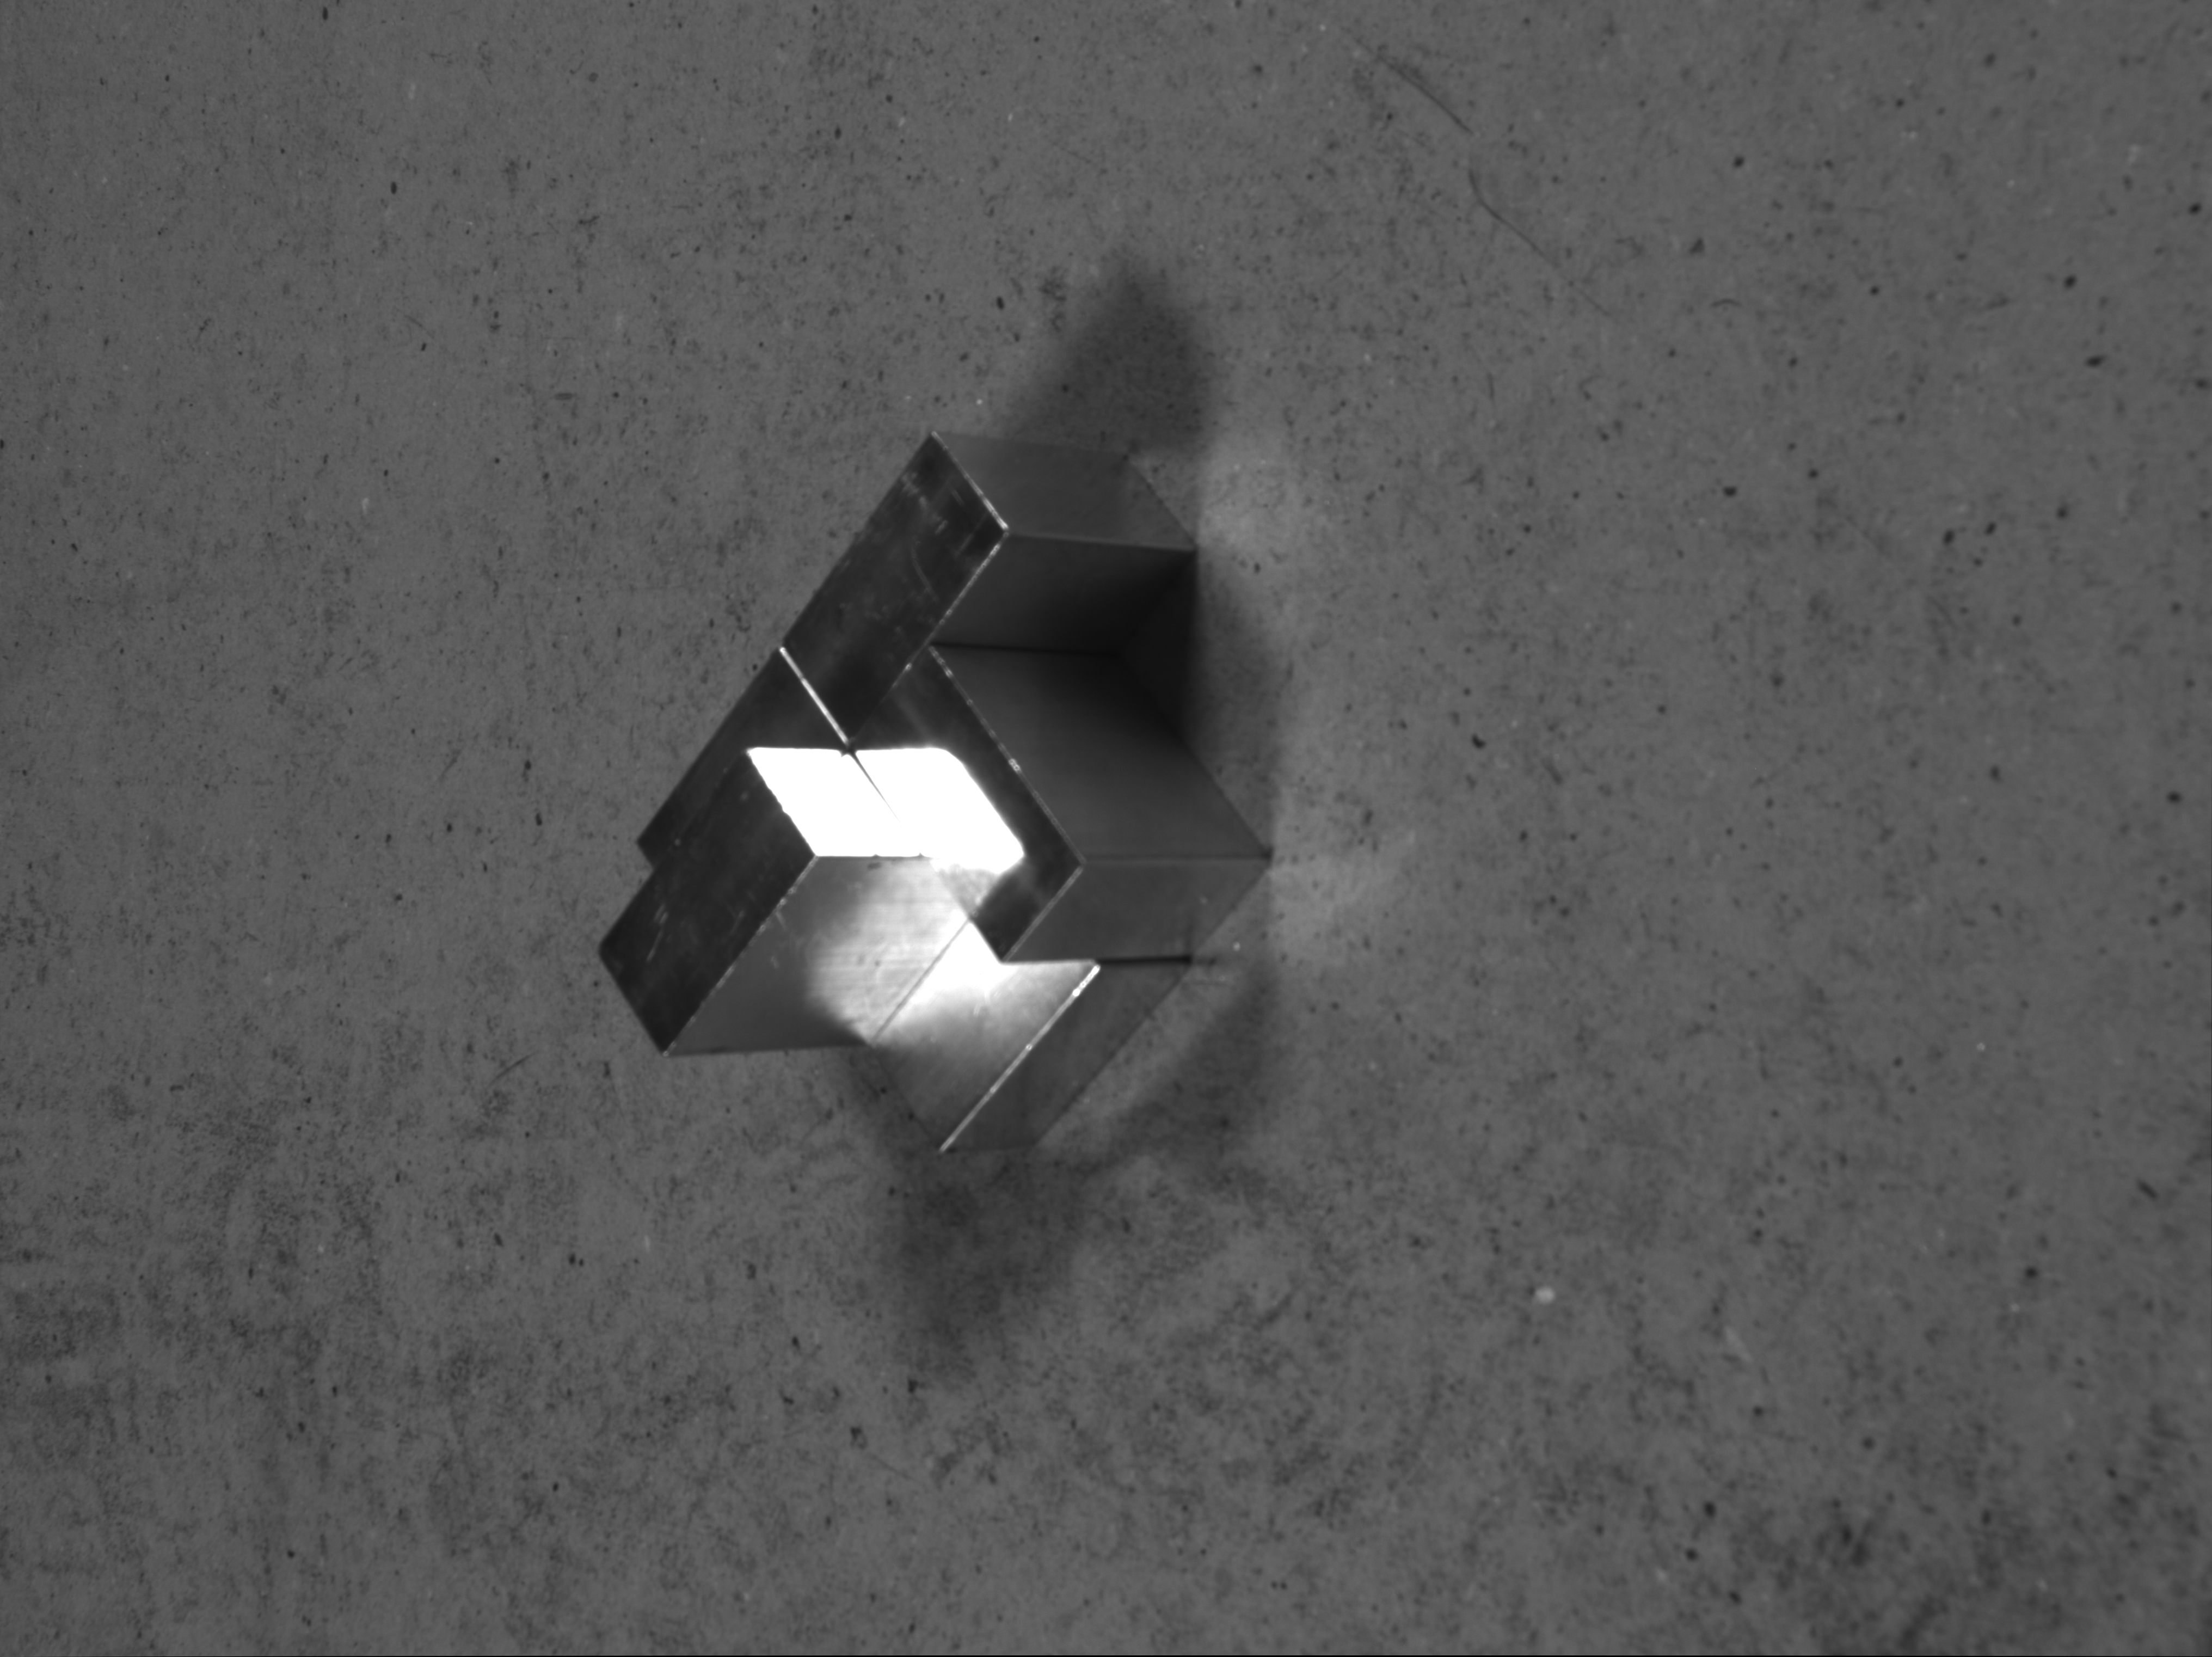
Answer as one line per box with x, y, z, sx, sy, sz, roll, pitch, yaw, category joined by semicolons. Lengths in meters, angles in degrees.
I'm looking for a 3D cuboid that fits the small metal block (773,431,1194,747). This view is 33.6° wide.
-0.021;-0.040;0.638;0.050;0.050;0.025;-51;60;27;small metal block

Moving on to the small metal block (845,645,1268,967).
-0.008;-0.004;0.627;0.025;0.050;0.050;-50;61;28;small metal block

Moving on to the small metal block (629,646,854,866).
-0.049;-0.005;0.660;0.050;0.050;0.025;-51;60;27;small metal block

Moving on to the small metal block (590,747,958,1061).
-0.052;0.013;0.630;0.050;0.050;0.025;-51;60;27;small metal block

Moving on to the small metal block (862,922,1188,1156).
-0.021;0.022;0.654;0.050;0.025;0.050;-50;61;28;small metal block
